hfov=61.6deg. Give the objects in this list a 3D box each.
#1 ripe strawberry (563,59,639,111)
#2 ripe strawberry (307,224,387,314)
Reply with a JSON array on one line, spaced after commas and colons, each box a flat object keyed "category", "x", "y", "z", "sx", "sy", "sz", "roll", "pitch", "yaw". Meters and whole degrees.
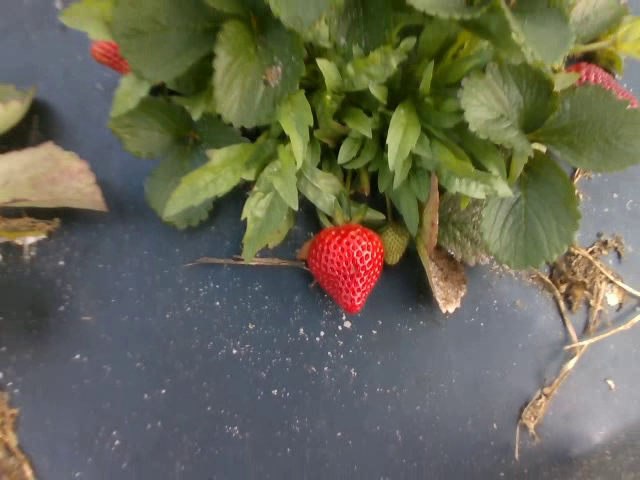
[{"category": "ripe strawberry", "x": 0.148, "y": -0.073, "z": 0.289, "sx": 0.046, "sy": 0.043, "sz": 0.046, "roll": 14, "pitch": 10, "yaw": 18}, {"category": "ripe strawberry", "x": 0.012, "y": 0.015, "z": 0.267, "sx": 0.043, "sy": 0.051, "sz": 0.043, "roll": -6, "pitch": -14, "yaw": -8}]
